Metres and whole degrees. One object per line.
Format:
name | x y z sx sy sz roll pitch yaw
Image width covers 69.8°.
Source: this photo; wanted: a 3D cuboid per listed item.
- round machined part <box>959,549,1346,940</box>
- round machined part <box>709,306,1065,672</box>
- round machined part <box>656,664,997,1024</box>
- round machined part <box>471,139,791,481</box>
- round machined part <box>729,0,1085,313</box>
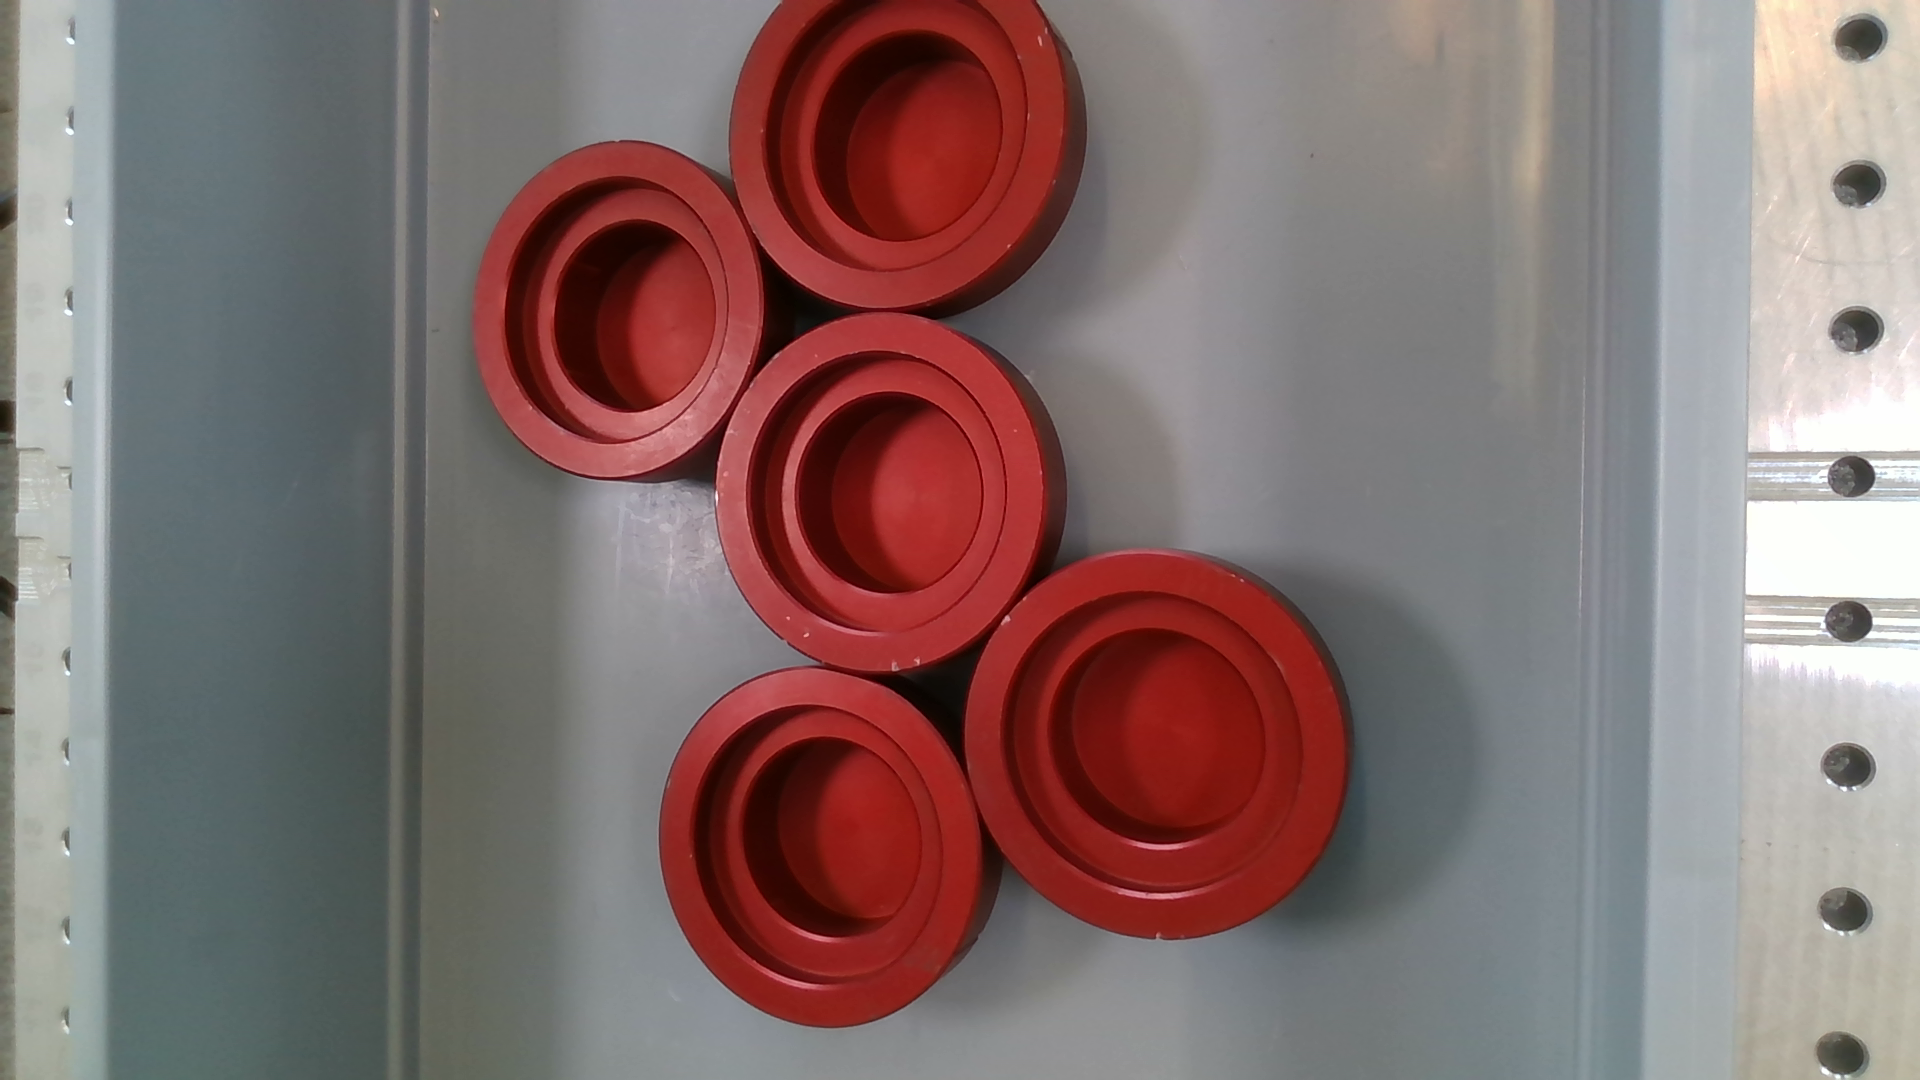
round machined part | 0.053 0.051 0.364 0.098 0.042 0.098 0 90 20
round machined part | -0.017 -0.014 0.388 0.098 0.042 0.098 0 90 20
round machined part | -0.034 0.084 0.396 0.098 0.042 0.098 0 90 20
round machined part | -0.094 -0.067 0.416 0.098 0.042 0.098 0 90 20
round machined part | -0.012 -0.111 0.387 0.098 0.042 0.098 0 90 20
